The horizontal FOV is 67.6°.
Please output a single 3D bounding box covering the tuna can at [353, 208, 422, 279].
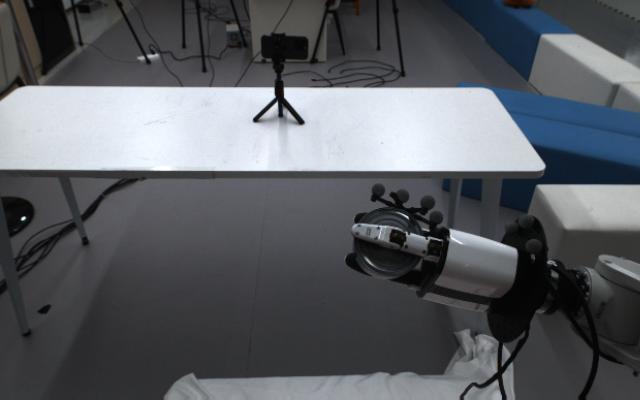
[{"bbox_3d":[0.084,0.050,0.596,0.085,0.034,0.085,0,71,0],"label":"tuna can"}]
